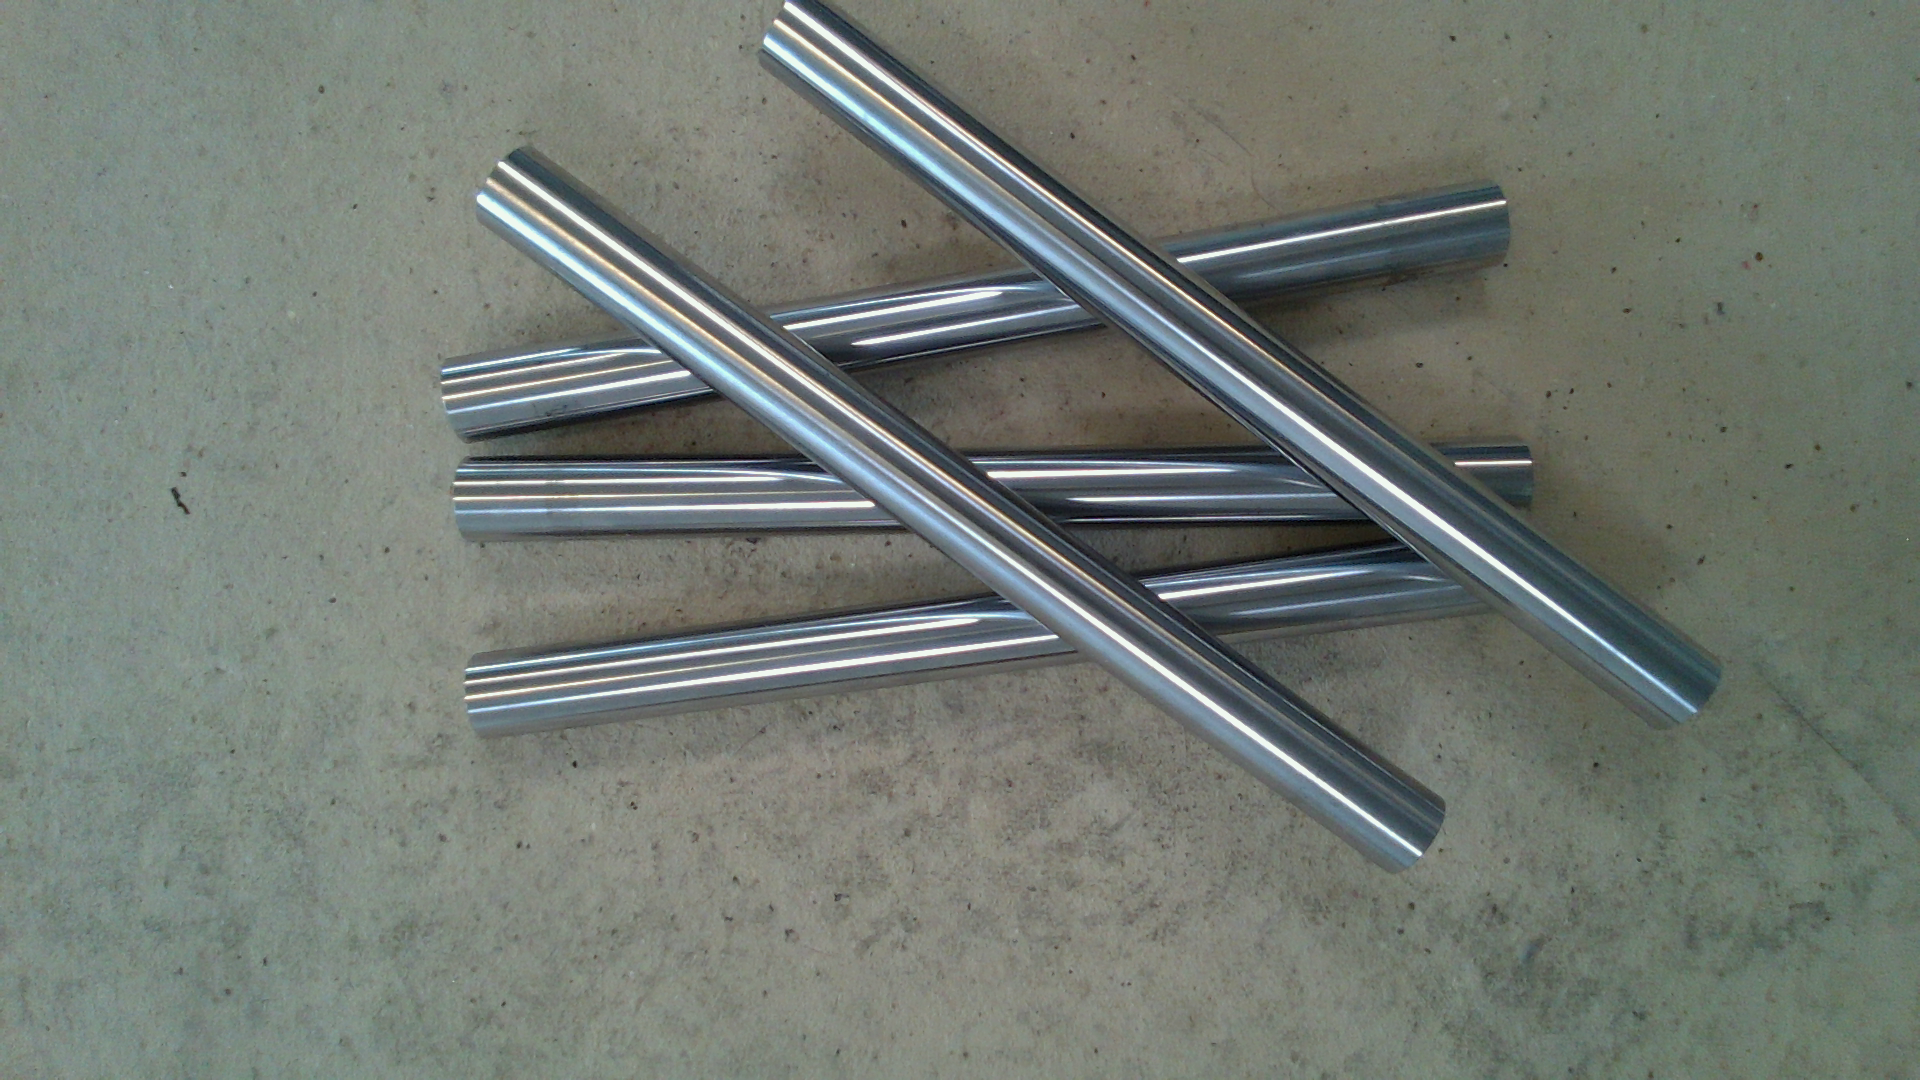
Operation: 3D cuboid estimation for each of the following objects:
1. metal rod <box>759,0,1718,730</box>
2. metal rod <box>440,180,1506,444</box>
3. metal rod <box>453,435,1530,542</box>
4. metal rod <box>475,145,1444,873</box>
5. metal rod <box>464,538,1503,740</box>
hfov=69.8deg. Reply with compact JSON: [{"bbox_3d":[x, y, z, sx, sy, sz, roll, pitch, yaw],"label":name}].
[{"bbox_3d":[0.074,-0.048,0.370,0.300,0.025,0.025,37,90,0],"label":"metal rod"},{"bbox_3d":[0.004,-0.065,0.395,0.300,0.025,0.025,-10,90,0],"label":"metal rod"},{"bbox_3d":[0.009,-0.015,0.395,0.300,0.025,0.025,-1,90,0],"label":"metal rod"},{"bbox_3d":[0.000,-0.008,0.370,0.300,0.025,0.025,36,90,0],"label":"metal rod"},{"bbox_3d":[0.011,0.026,0.395,0.300,0.025,0.025,-7,90,0],"label":"metal rod"}]
